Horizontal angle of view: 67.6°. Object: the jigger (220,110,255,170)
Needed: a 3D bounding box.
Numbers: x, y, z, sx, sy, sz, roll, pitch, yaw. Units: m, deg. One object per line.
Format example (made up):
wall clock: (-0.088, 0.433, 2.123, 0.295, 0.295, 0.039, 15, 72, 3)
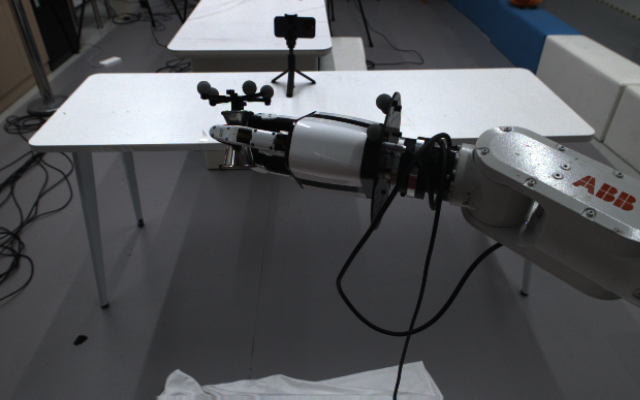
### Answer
jigger: (-0.101, -0.074, 0.598, 0.043, 0.071, 0.043, -2, 3, 0)
